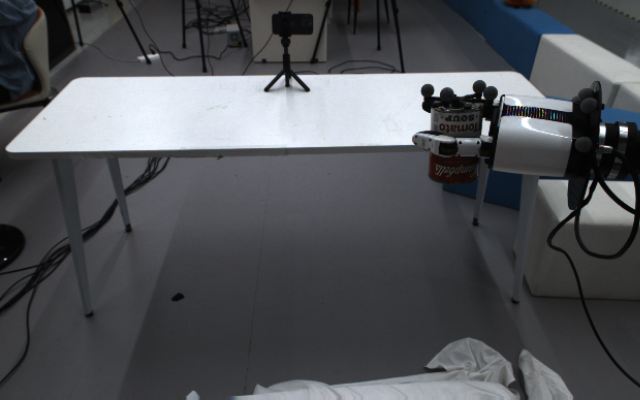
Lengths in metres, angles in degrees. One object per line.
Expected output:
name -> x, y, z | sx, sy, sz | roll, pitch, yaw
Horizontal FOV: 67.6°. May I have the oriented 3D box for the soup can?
soup can -> 0.183, -0.081, 0.650 | 0.067, 0.101, 0.067 | -3, 26, 2
